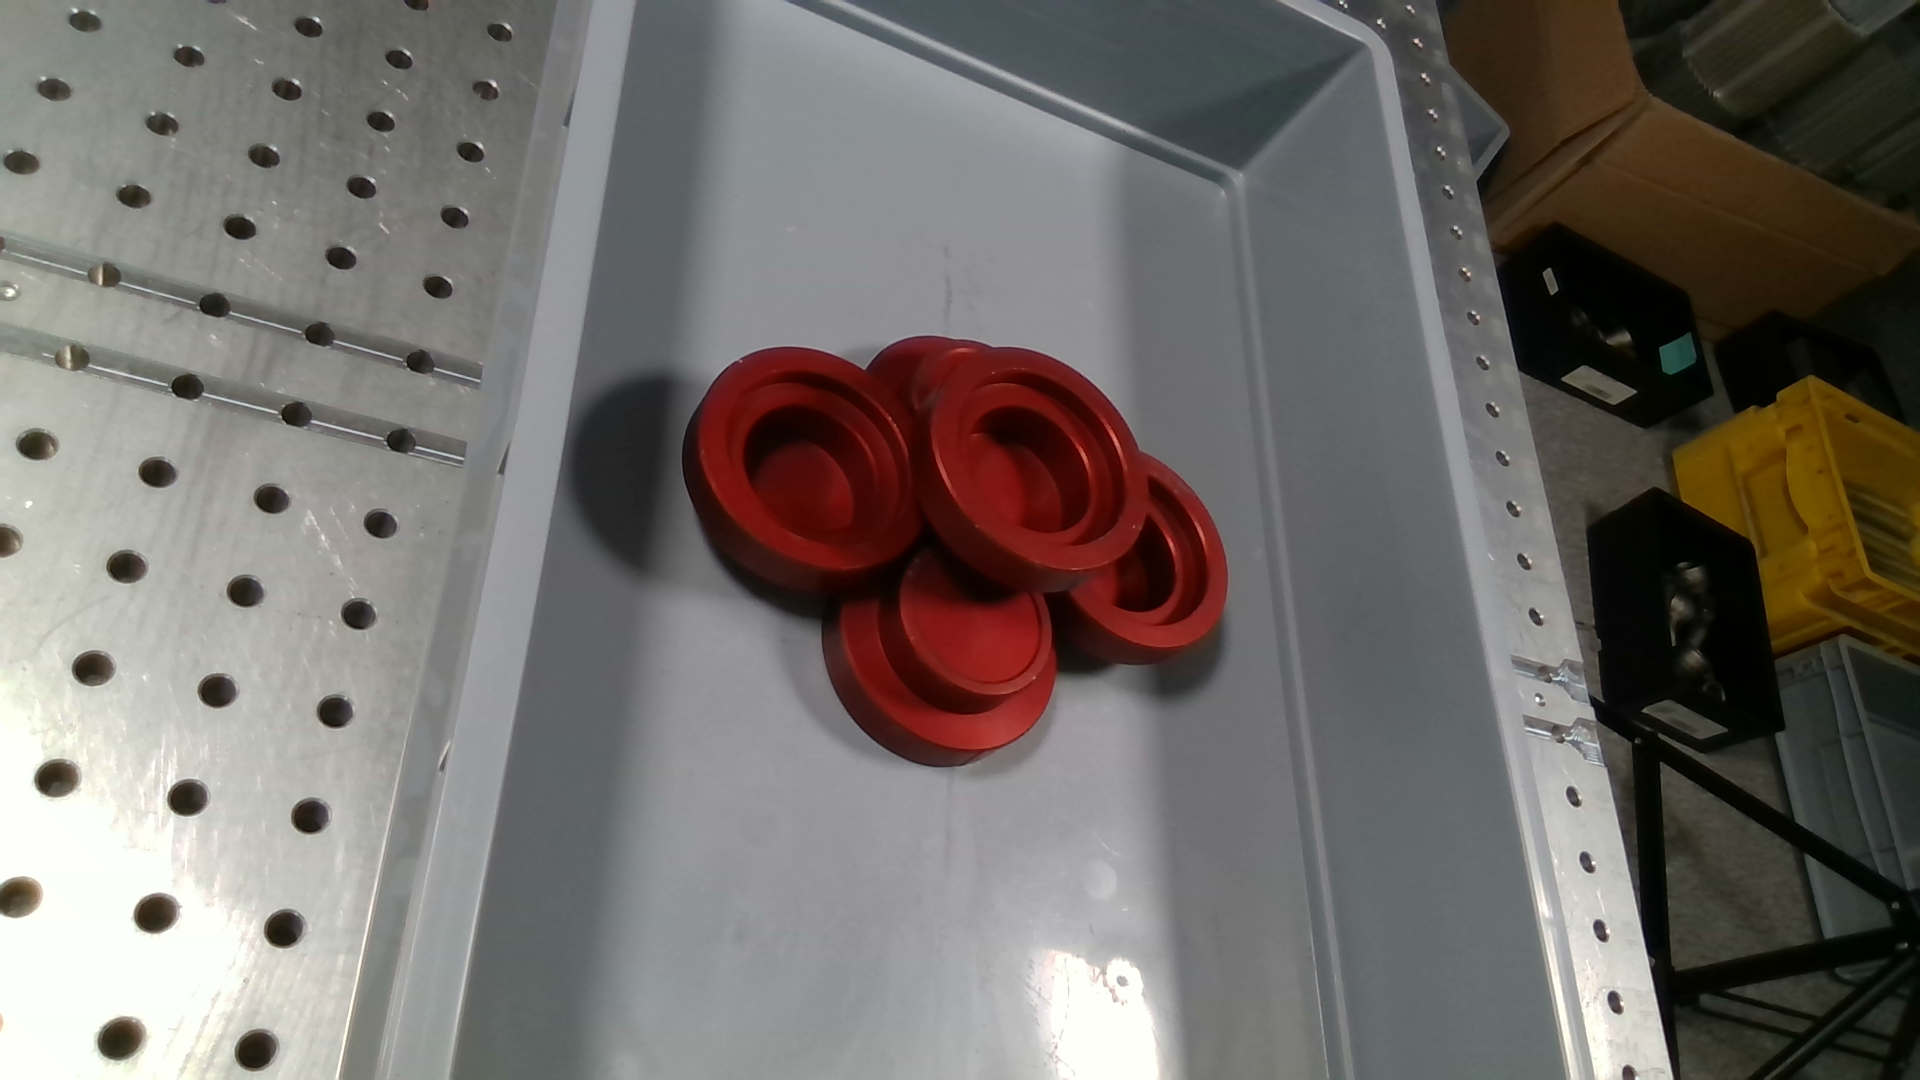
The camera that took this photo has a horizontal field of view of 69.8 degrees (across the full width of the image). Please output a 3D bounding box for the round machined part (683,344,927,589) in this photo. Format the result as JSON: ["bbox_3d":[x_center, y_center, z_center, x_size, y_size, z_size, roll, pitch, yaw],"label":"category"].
[{"bbox_3d":[-0.064,-0.025,0.547,0.098,0.042,0.098,14,59,-25],"label":"round machined part"}]

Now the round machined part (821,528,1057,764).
[{"bbox_3d":[-0.002,0.037,0.551,0.098,0.042,0.098,14,59,-25],"label":"round machined part"}]

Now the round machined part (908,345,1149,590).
[{"bbox_3d":[0.023,-0.025,0.546,0.098,0.042,0.098,14,59,-25],"label":"round machined part"}]

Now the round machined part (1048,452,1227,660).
[{"bbox_3d":[0.066,0.009,0.609,0.098,0.042,0.098,14,59,-25],"label":"round machined part"}]

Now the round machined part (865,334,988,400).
[{"bbox_3d":[0.000,-0.048,0.599,0.098,0.042,0.098,14,59,-25],"label":"round machined part"}]
